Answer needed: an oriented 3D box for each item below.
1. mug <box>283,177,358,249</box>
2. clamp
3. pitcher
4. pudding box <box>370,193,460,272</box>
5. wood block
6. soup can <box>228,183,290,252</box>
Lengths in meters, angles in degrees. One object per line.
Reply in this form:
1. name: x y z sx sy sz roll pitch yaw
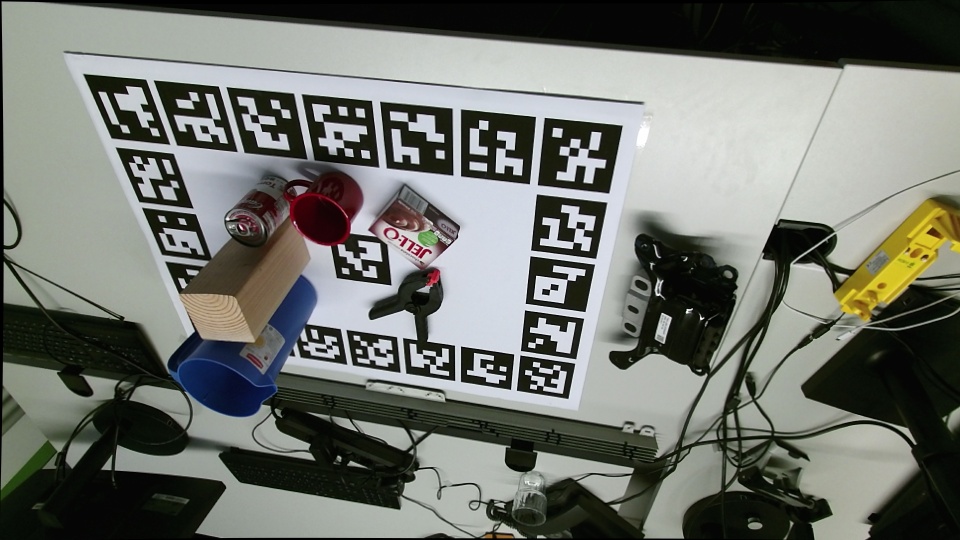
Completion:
1. mug: -0.245 -0.094 0.808 0.117 0.081 0.093 35 128 -16
2. clamp: -0.126 0.069 0.944 0.122 0.036 0.165 34 125 -5
3. pitcher: -0.396 0.121 0.900 0.189 0.241 0.133 4 129 4
4. pudding box: -0.102 -0.054 0.840 0.114 0.038 0.090 36 122 -17
5. wood block: -0.367 0.018 0.836 0.090 0.205 0.091 6 127 11
6. soup can: -0.339 -0.082 0.821 0.068 0.101 0.068 5 125 7
